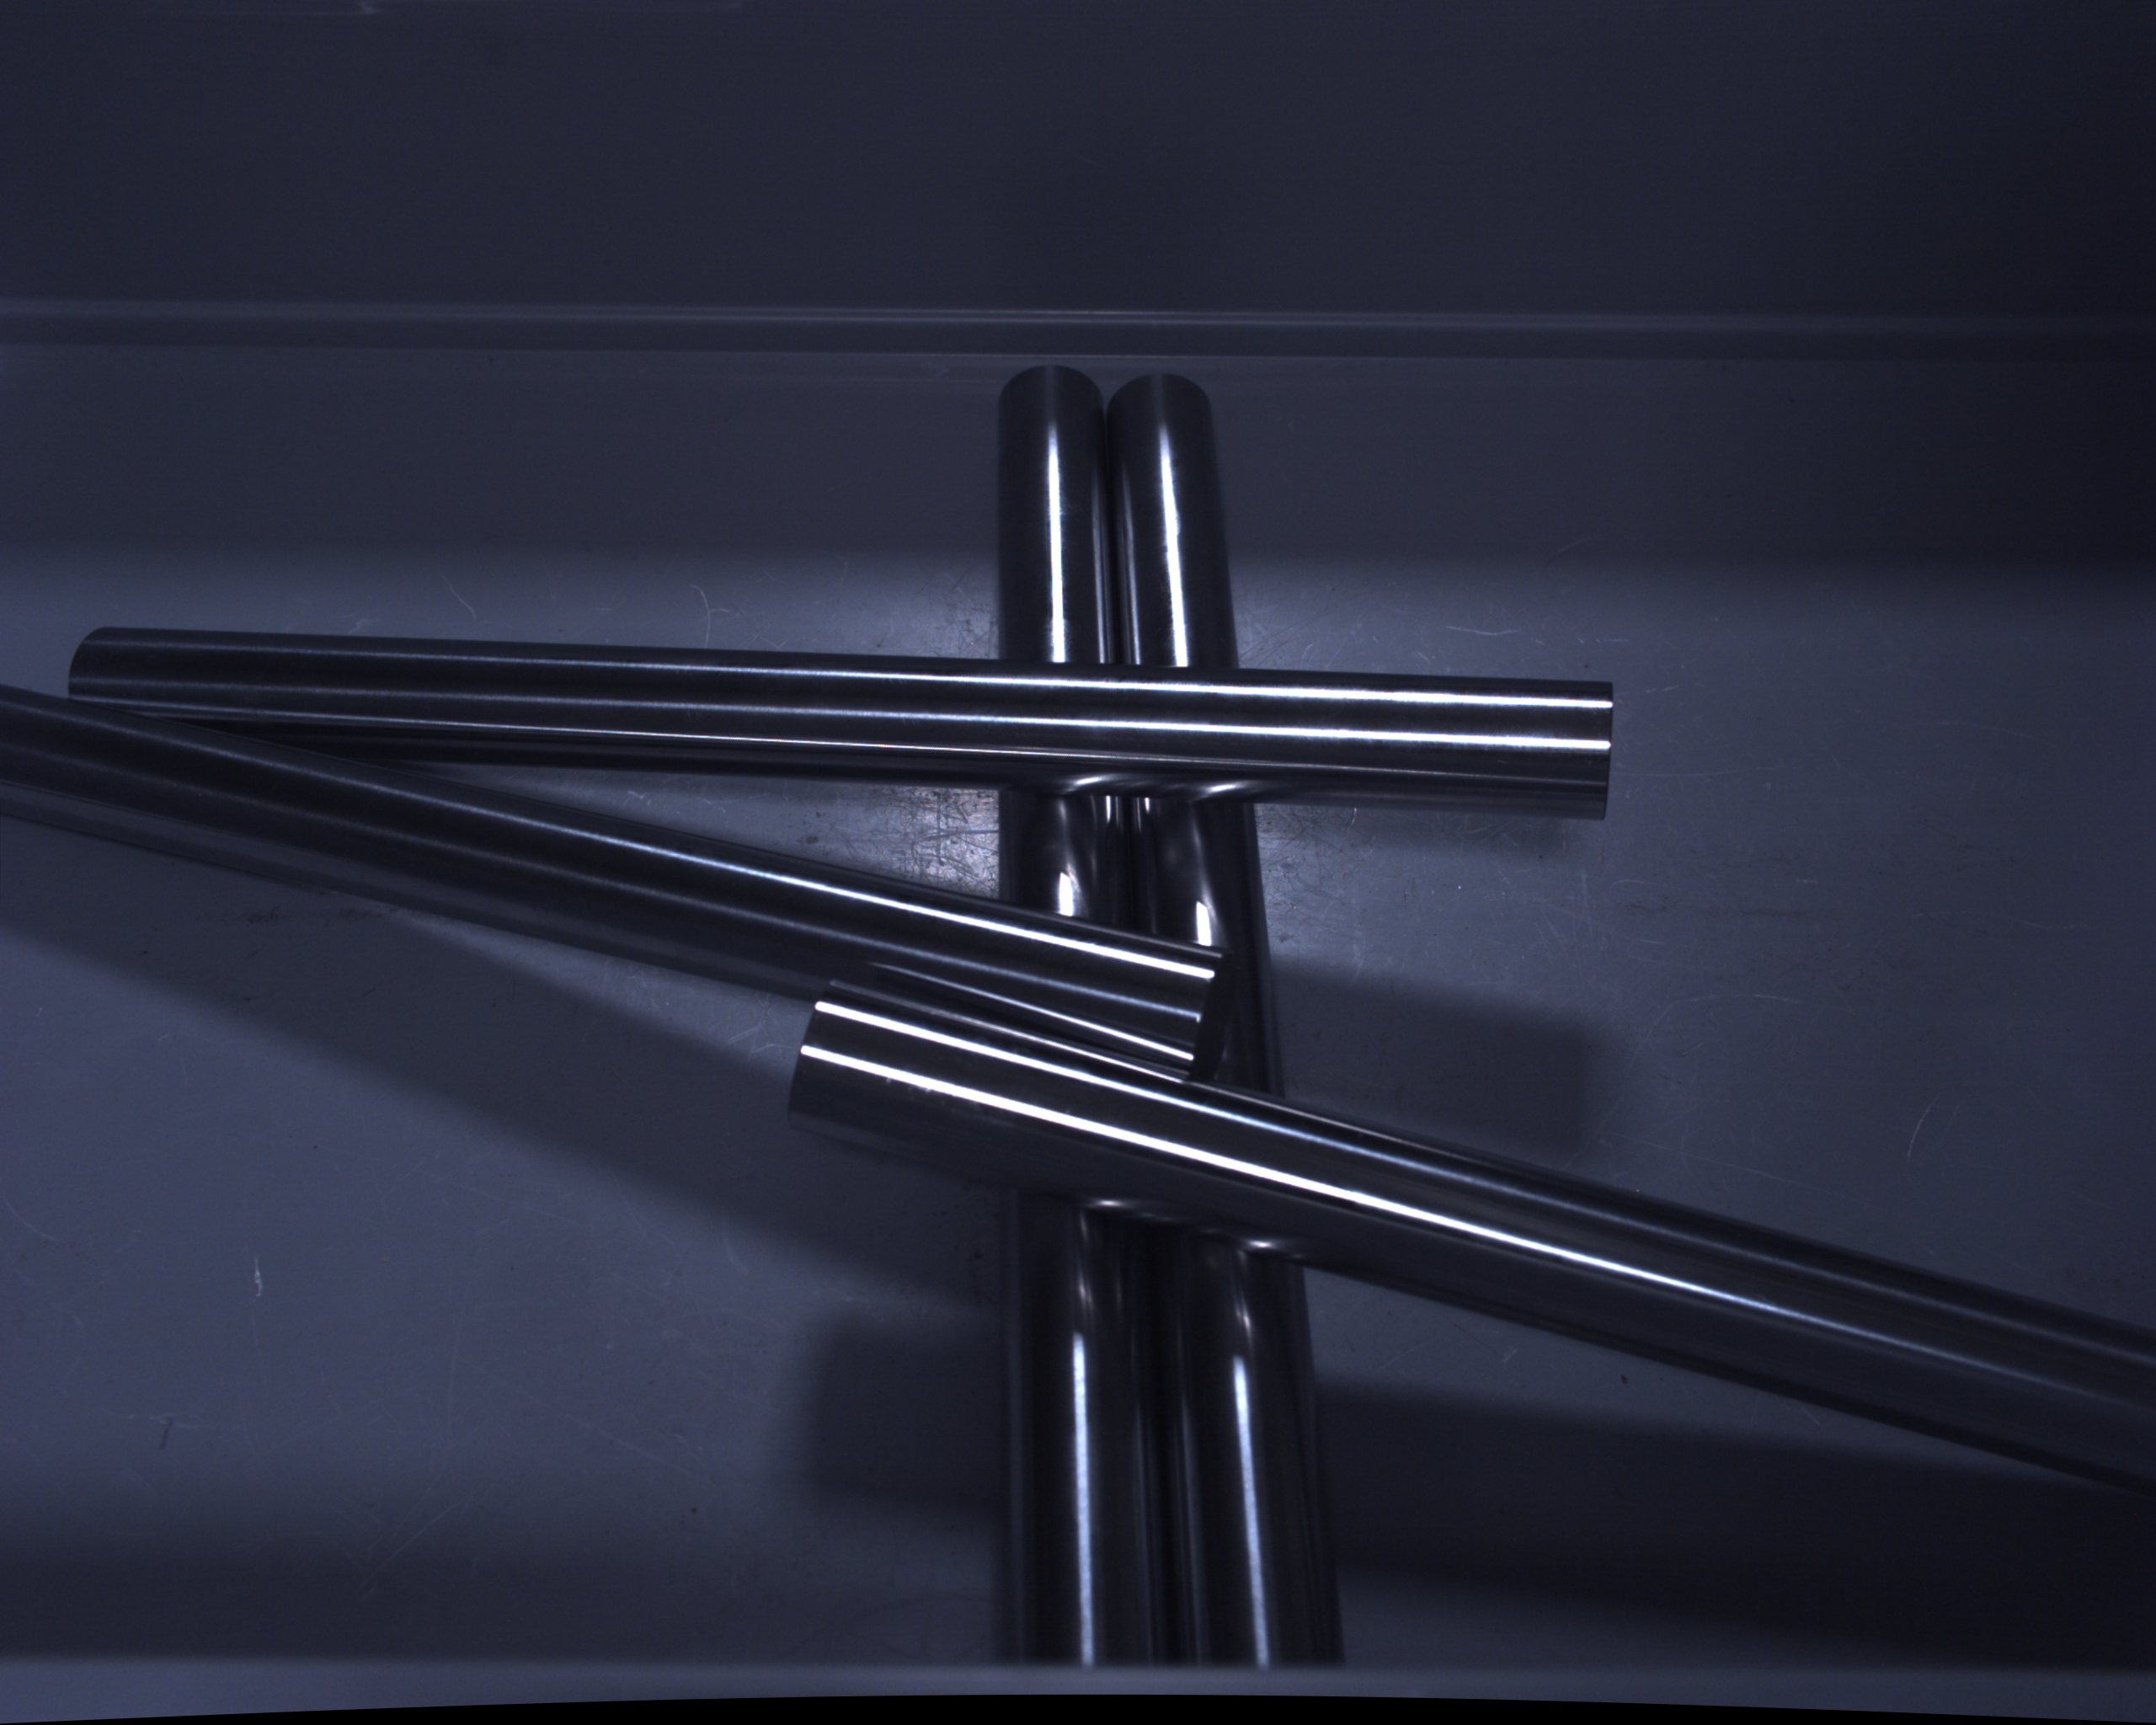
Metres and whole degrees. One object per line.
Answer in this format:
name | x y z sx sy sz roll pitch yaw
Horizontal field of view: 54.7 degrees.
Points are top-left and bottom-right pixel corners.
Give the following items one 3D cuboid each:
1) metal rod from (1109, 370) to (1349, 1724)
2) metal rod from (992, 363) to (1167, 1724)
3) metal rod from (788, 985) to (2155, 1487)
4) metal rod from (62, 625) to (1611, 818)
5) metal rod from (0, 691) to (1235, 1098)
metal rod | 0.023 0.009 0.394 0.025 0.025 0.300 -1 50 -1
metal rod | -0.003 0.007 0.395 0.025 0.025 0.300 -1 50 -1
metal rod | 0.104 0.068 0.325 0.302 0.025 0.025 14 51 4
metal rod | -0.053 -0.028 0.401 0.301 0.025 0.025 3 50 11
metal rod | -0.119 -0.002 0.387 0.301 0.025 0.025 12 51 16
